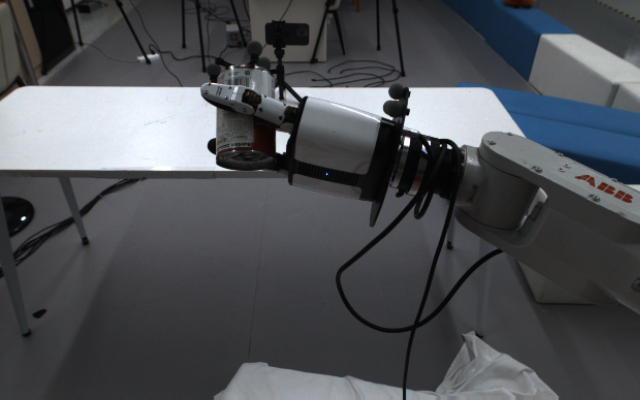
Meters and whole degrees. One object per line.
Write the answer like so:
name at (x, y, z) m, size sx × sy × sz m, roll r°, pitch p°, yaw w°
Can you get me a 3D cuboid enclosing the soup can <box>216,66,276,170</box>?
soup can at (-0.082, -0.091, 0.545) m, size 0.067 × 0.067 × 0.101 m, roll -1°, pitch 77°, yaw -5°
